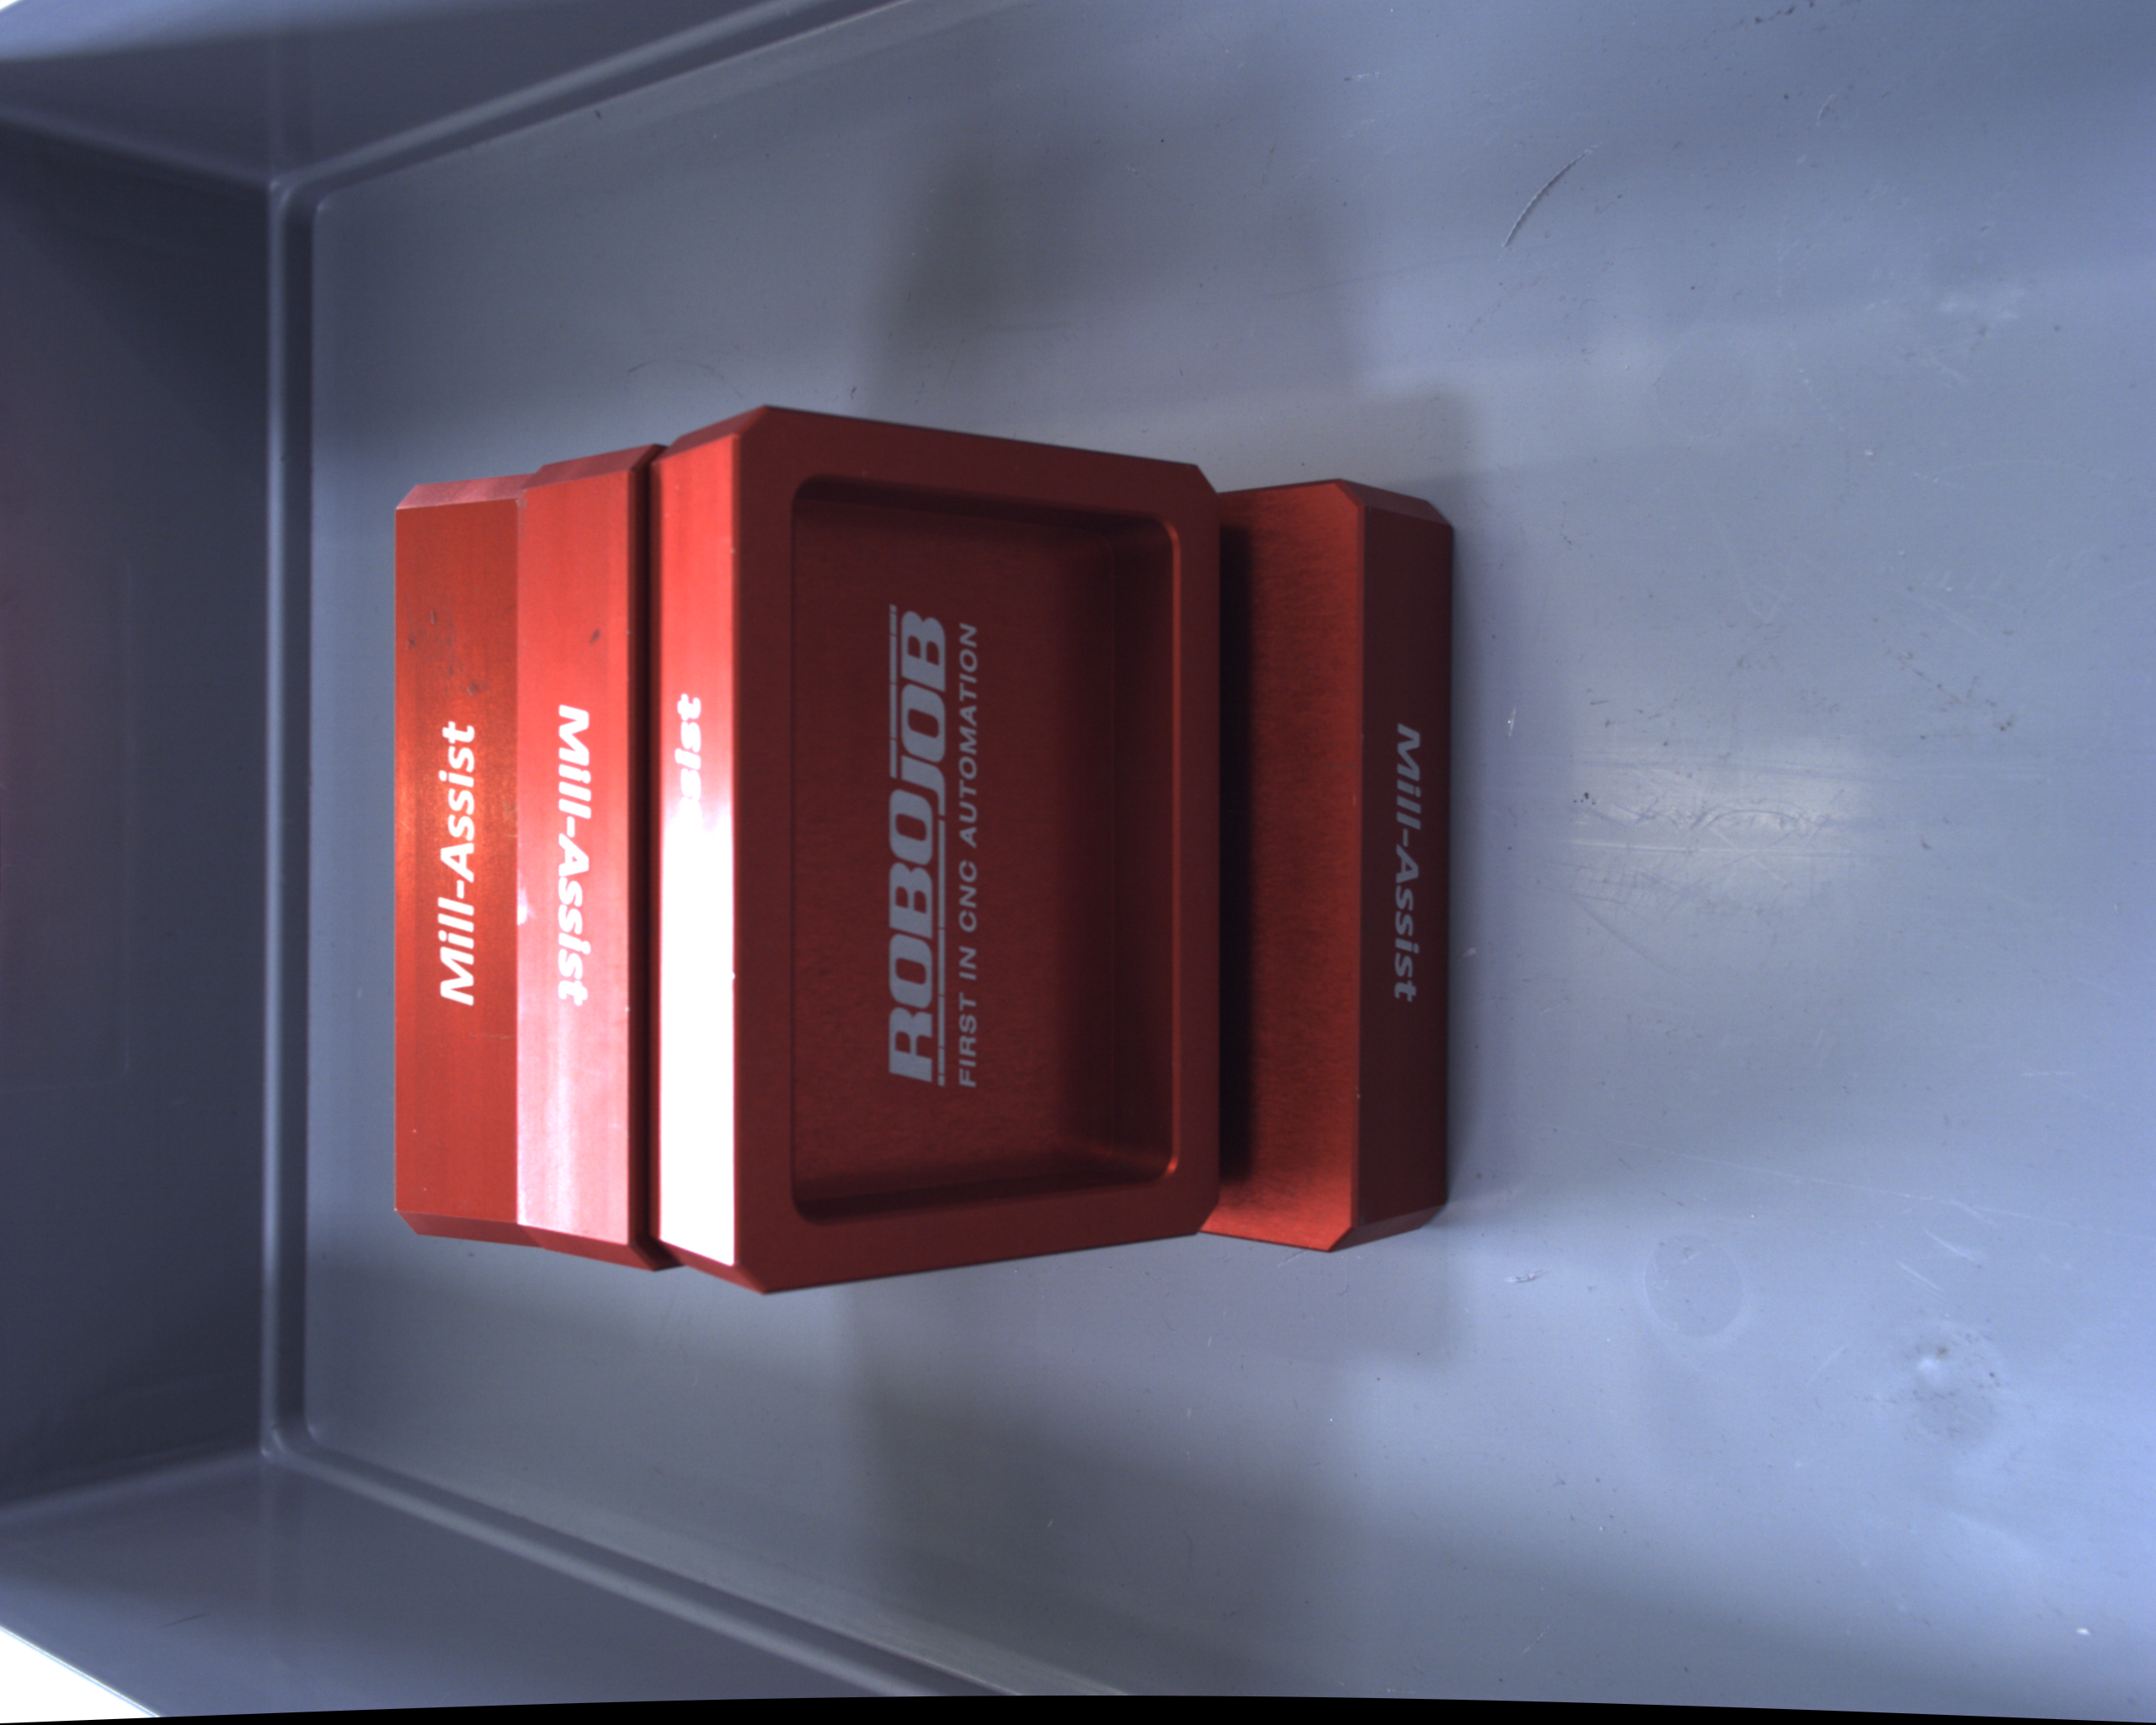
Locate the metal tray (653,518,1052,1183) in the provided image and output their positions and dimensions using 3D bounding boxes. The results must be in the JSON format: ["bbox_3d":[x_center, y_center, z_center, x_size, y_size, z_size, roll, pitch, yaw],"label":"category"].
[{"bbox_3d":[-0.049,-0.003,0.441,0.090,0.030,0.129,1,90,40],"label":"metal tray"}]

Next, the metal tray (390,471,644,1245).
[{"bbox_3d":[-0.084,-0.001,0.389,0.030,0.090,0.129,0,90,27],"label":"metal tray"}]

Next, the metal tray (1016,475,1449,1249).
[{"bbox_3d":[0.021,-0.001,0.384,0.090,0.030,0.129,1,90,40],"label":"metal tray"}]

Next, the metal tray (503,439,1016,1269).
[{"bbox_3d":[-0.052,0.000,0.364,0.030,0.091,0.129,0,88,40],"label":"metal tray"}]

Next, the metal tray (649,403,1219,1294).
[{"bbox_3d":[-0.021,-0.002,0.337,0.030,0.091,0.129,0,90,54],"label":"metal tray"}]
